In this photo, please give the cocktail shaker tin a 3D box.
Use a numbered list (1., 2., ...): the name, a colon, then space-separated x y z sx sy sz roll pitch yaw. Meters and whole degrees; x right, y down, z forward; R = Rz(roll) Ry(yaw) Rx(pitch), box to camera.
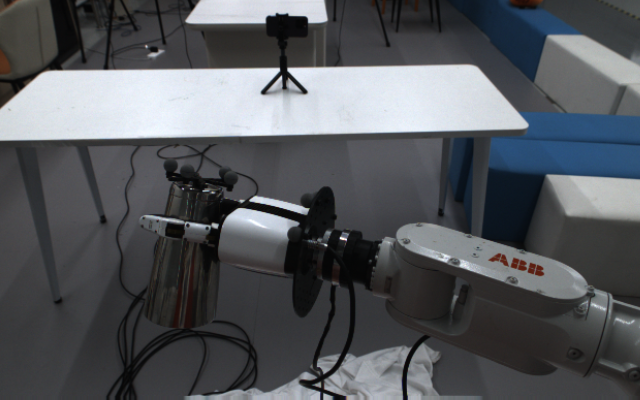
1. cocktail shaker tin: -0.165 0.064 0.621 0.093 0.170 0.093 10 10 -2
